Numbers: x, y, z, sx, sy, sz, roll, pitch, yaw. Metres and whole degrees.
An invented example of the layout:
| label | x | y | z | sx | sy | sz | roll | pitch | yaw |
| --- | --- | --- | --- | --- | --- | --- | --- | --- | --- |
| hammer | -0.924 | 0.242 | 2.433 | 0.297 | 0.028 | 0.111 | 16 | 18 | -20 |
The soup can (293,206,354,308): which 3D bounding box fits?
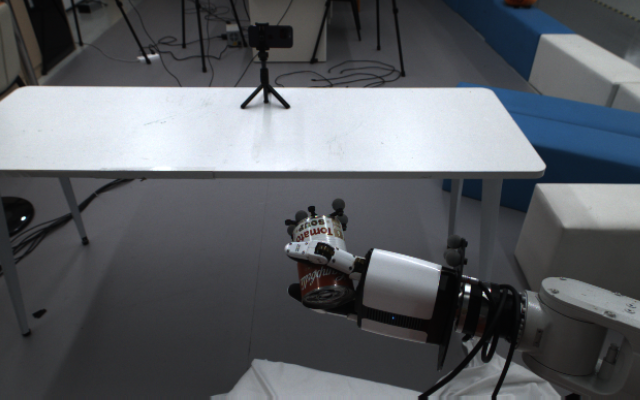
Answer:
| label | x | y | z | sx | sy | sz | roll | pitch | yaw |
| --- | --- | --- | --- | --- | --- | --- | --- | --- | --- |
| soup can | 0.006 | 0.079 | 0.618 | 0.067 | 0.067 | 0.101 | -5 | 57 | -10 |
